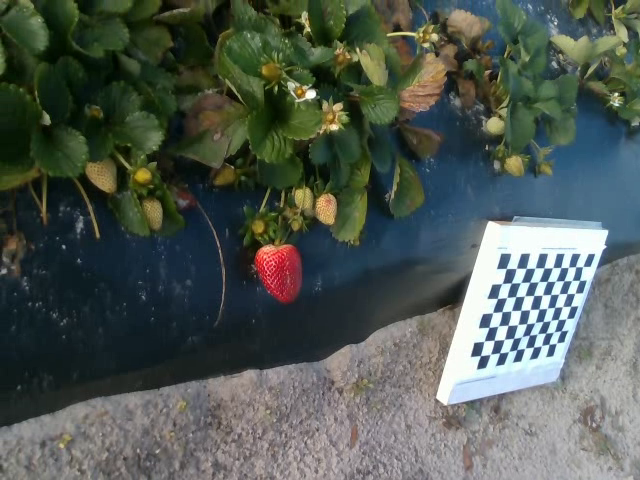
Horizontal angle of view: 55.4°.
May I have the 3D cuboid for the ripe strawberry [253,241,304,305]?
[{"bbox_3d":[-0.042,0.036,0.653,0.053,0.067,0.045,-4,-21,-37],"label":"ripe strawberry"}]
